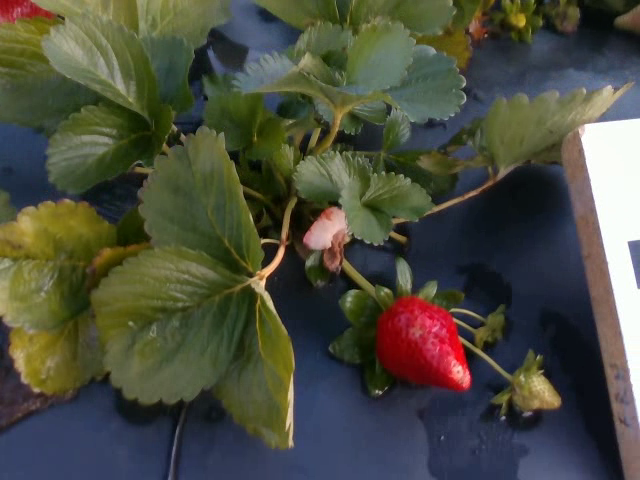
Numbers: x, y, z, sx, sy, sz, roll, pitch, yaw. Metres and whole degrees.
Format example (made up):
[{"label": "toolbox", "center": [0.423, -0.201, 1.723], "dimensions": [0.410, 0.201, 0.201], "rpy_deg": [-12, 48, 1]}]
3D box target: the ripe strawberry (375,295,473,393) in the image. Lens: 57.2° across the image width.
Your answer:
[{"label": "ripe strawberry", "center": [0.056, 0.054, 0.282], "dimensions": [0.043, 0.052, 0.057], "rpy_deg": [-33, 24, -6]}]
